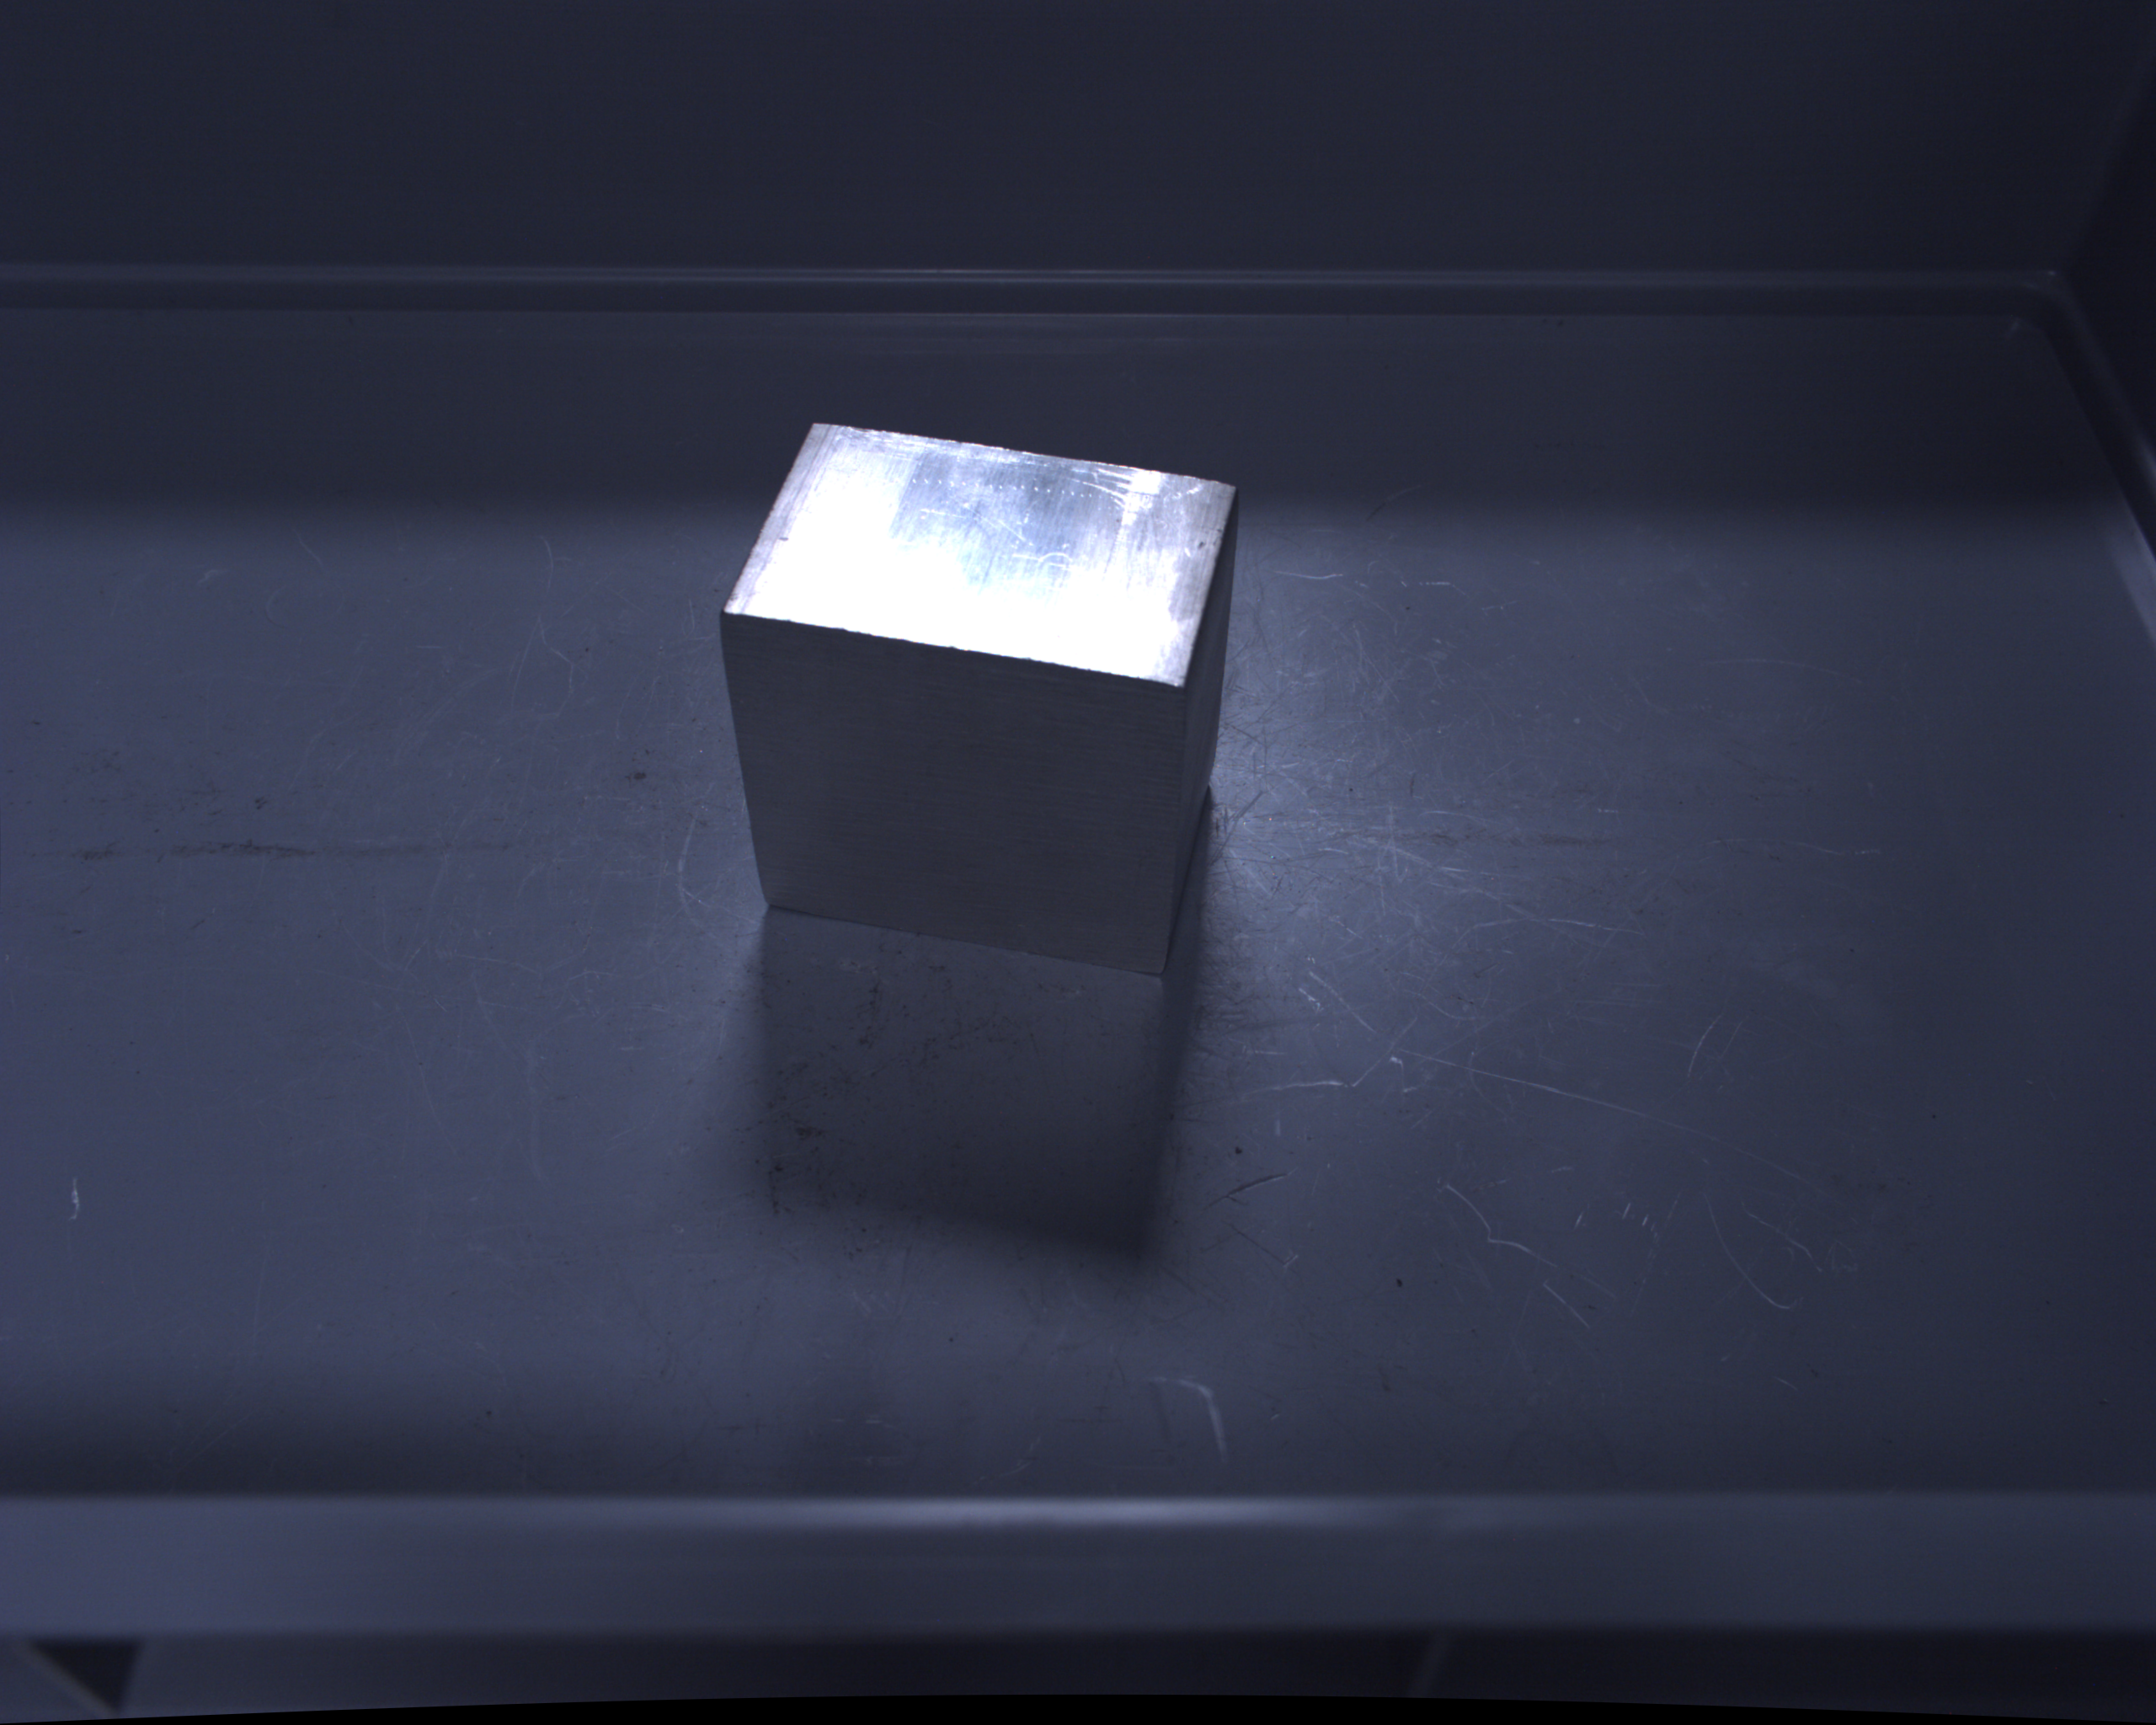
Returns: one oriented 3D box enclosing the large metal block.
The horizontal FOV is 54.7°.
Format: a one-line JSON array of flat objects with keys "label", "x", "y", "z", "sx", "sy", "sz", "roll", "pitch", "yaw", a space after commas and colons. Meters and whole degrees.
[{"label": "large metal block", "x": -0.016, "y": -0.029, "z": 0.391, "sx": 0.080, "sy": 0.080, "sz": 0.050, "roll": 9, "pitch": 51, "yaw": 7}]
